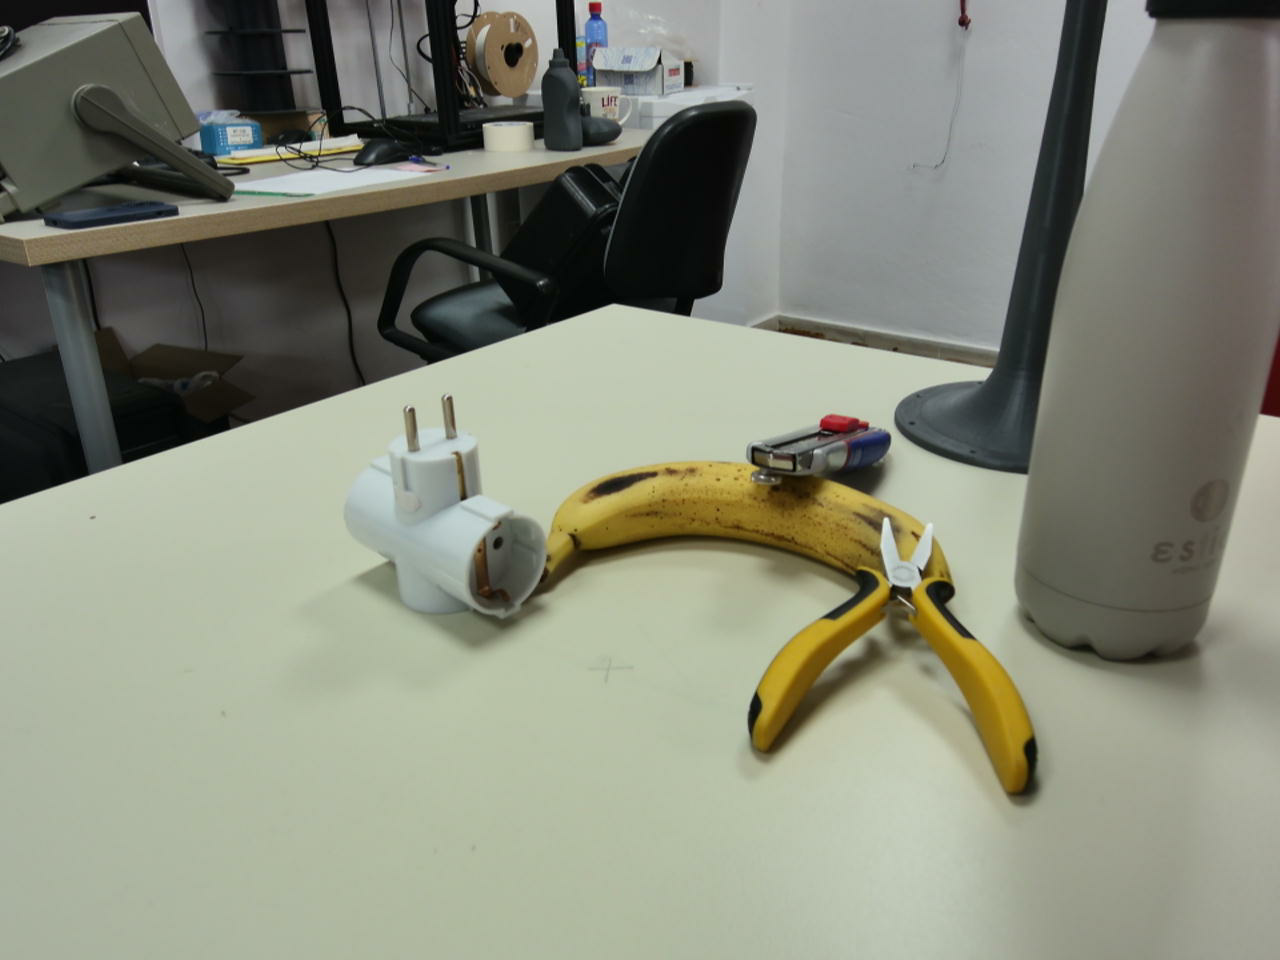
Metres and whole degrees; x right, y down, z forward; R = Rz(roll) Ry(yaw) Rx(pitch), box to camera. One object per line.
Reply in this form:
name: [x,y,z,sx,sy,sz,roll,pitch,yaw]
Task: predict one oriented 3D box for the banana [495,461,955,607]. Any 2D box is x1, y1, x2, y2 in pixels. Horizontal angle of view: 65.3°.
banana: [0.043,0.022,0.453,0.186,0.038,0.097,4,23,10]
